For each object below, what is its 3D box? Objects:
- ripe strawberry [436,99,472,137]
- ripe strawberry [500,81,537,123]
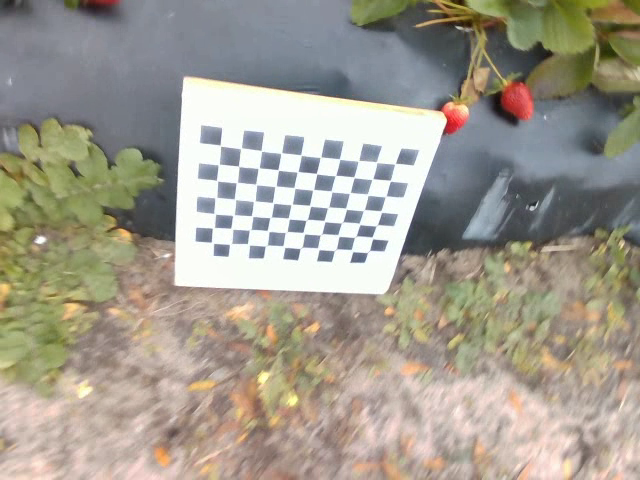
[{"bbox_3d":[0.160,-0.145,0.640,0.036,0.041,0.027,9,20,-3],"label":"ripe strawberry"},{"bbox_3d":[0.236,-0.169,0.647,0.044,0.059,0.042,-28,16,27],"label":"ripe strawberry"}]
